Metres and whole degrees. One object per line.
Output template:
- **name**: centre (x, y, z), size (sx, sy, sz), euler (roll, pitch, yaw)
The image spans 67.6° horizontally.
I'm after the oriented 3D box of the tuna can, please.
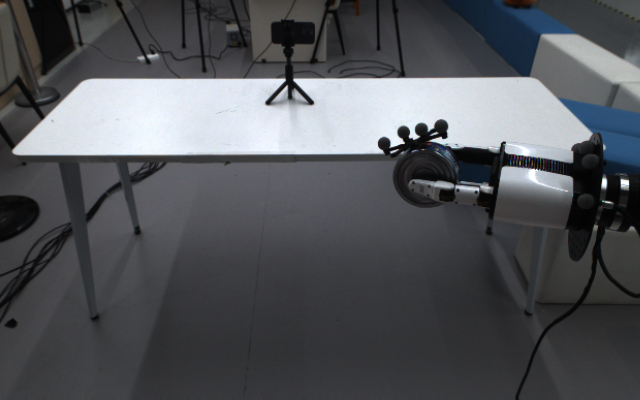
- **tuna can**: centre (0.144, -0.035, 0.651), size (0.085, 0.085, 0.034), euler (15, 29, 17)
